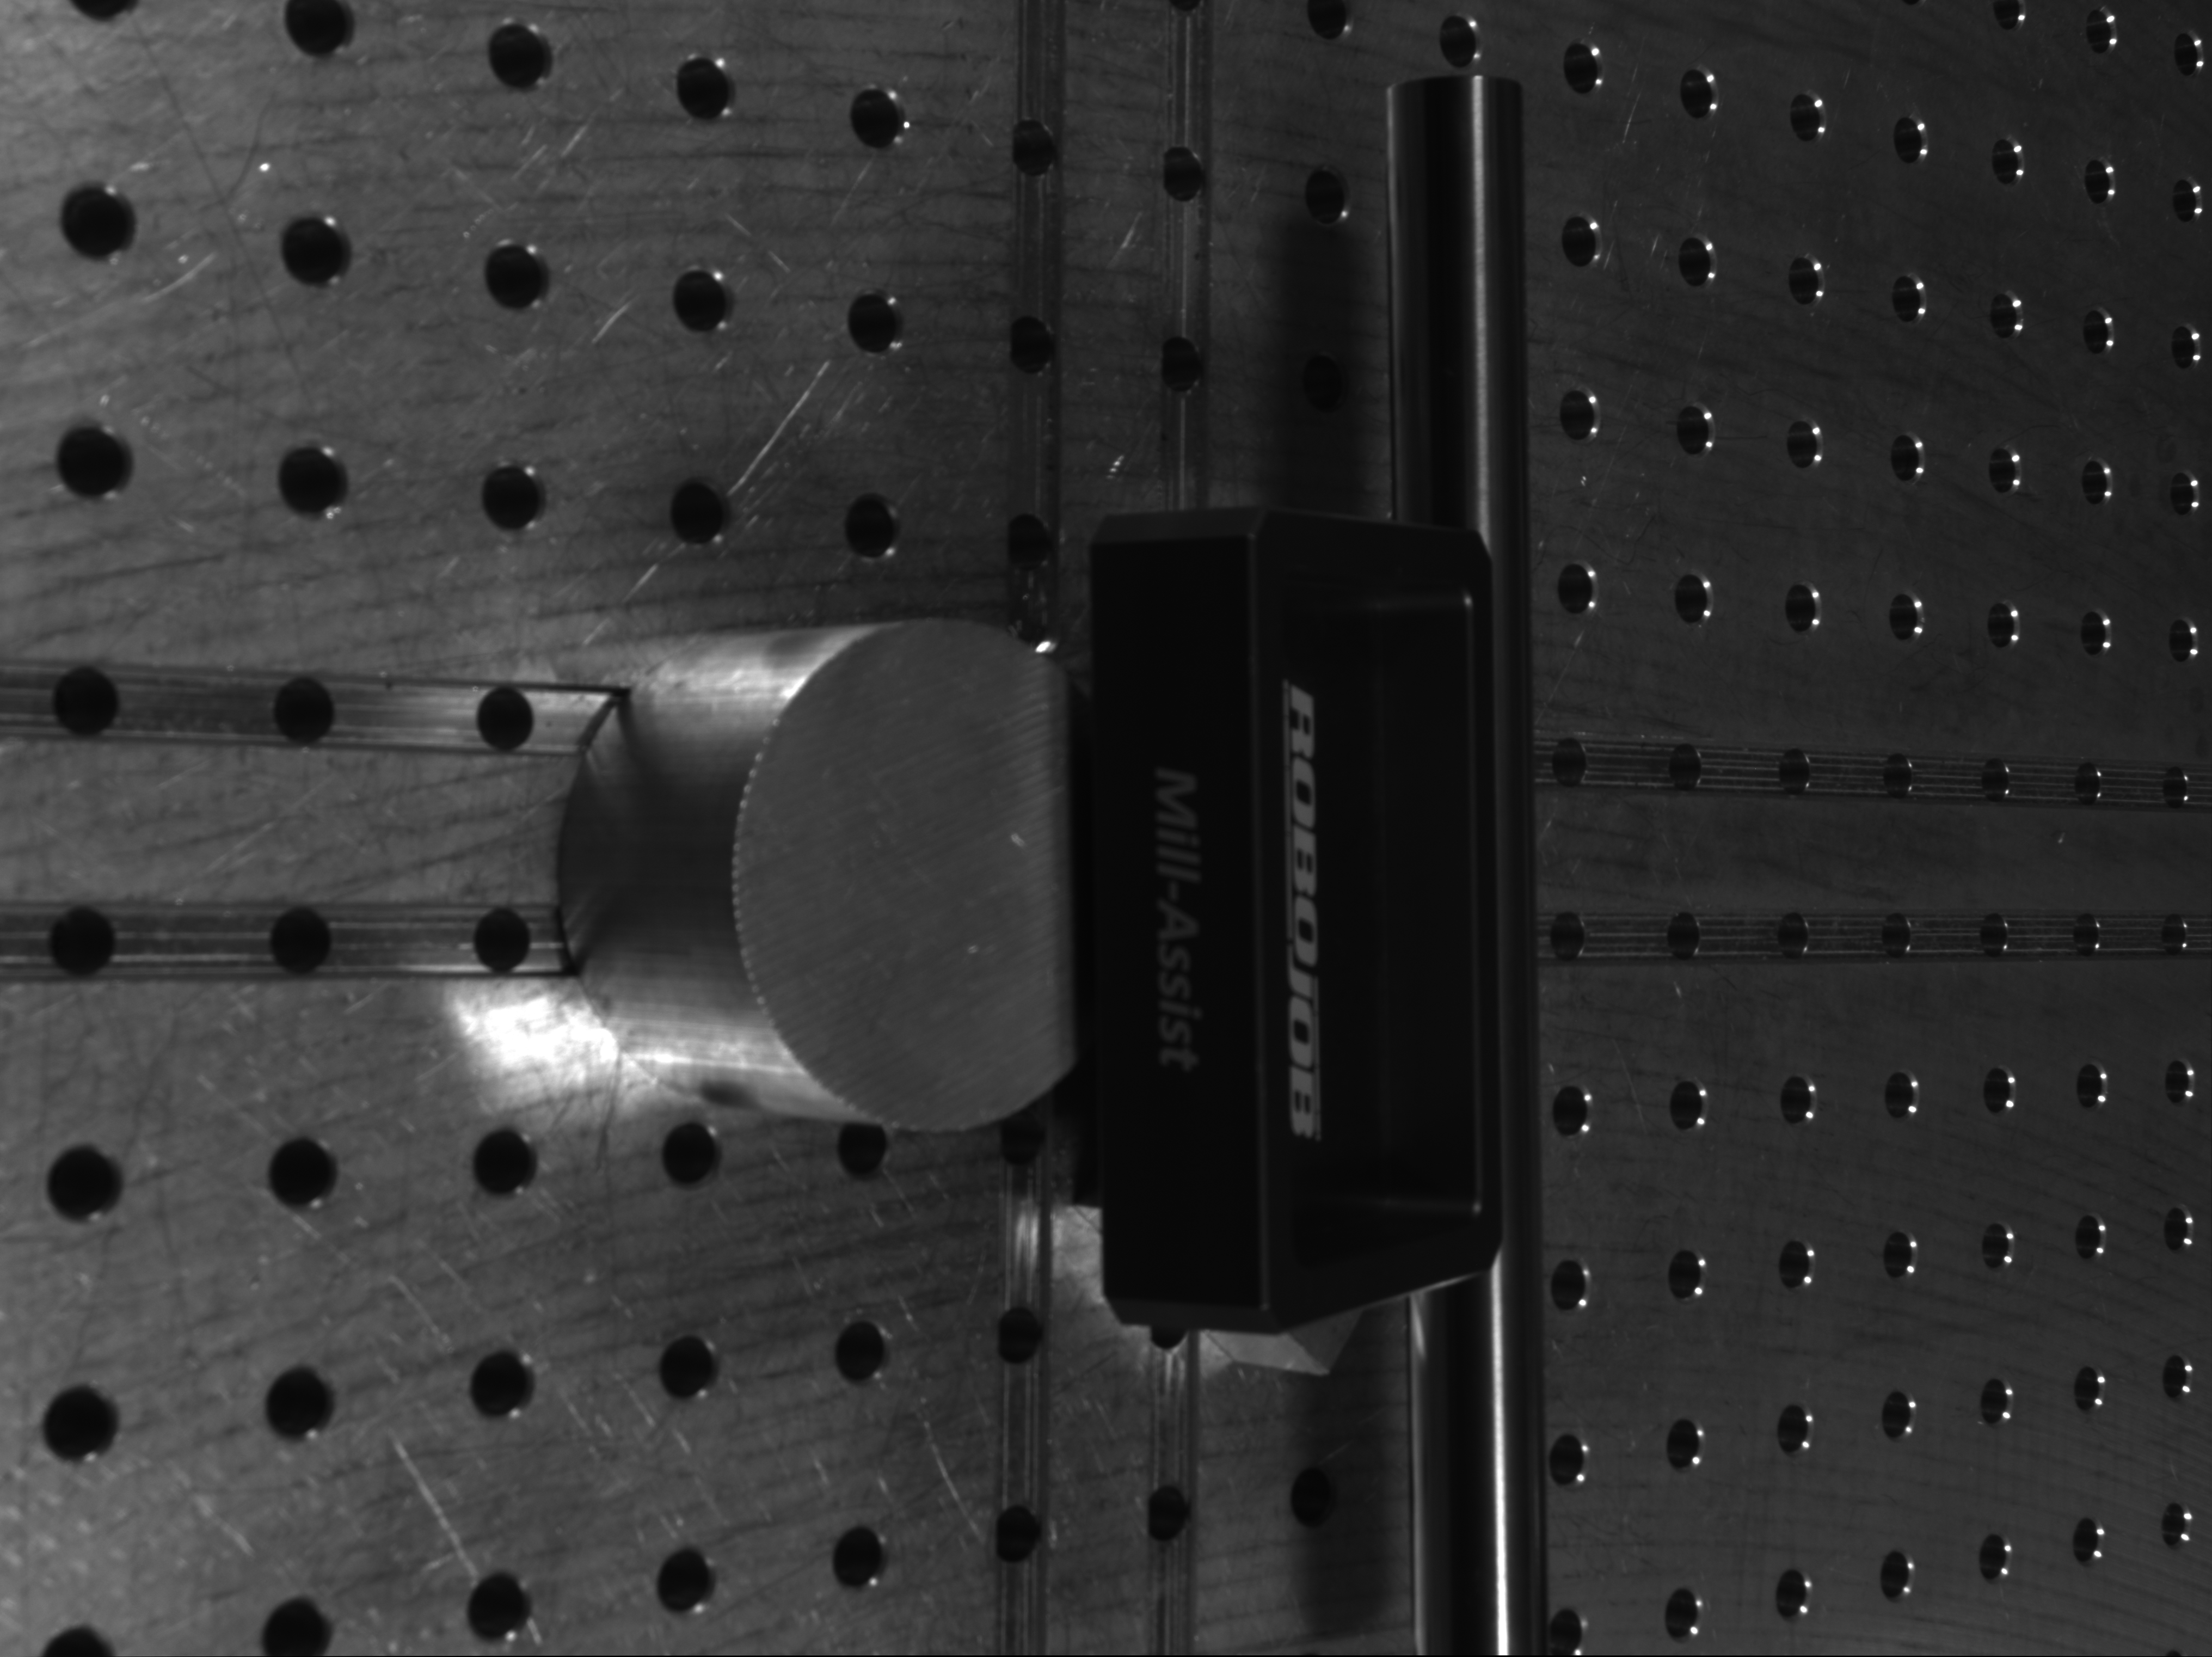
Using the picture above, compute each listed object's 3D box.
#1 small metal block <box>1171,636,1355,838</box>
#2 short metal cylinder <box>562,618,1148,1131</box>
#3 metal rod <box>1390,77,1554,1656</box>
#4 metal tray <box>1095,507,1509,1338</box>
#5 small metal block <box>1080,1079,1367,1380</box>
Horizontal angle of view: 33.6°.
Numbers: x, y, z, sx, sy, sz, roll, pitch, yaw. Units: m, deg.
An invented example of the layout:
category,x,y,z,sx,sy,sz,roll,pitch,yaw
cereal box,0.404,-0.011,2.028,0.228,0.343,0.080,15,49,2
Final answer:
category,x,y,z,sx,sy,sz,roll,pitch,yaw
small metal block,0.037,-0.024,0.672,0.050,0.025,0.050,-19,102,-38
short metal cylinder,-0.040,0.007,0.590,0.080,0.050,0.080,0,90,-40
metal rod,0.066,0.017,0.663,0.025,0.025,0.300,-2,91,-40
metal tray,0.035,0.014,0.614,0.090,0.030,0.130,-3,92,-59
small metal block,0.030,0.064,0.664,0.050,0.025,0.050,46,62,-30
